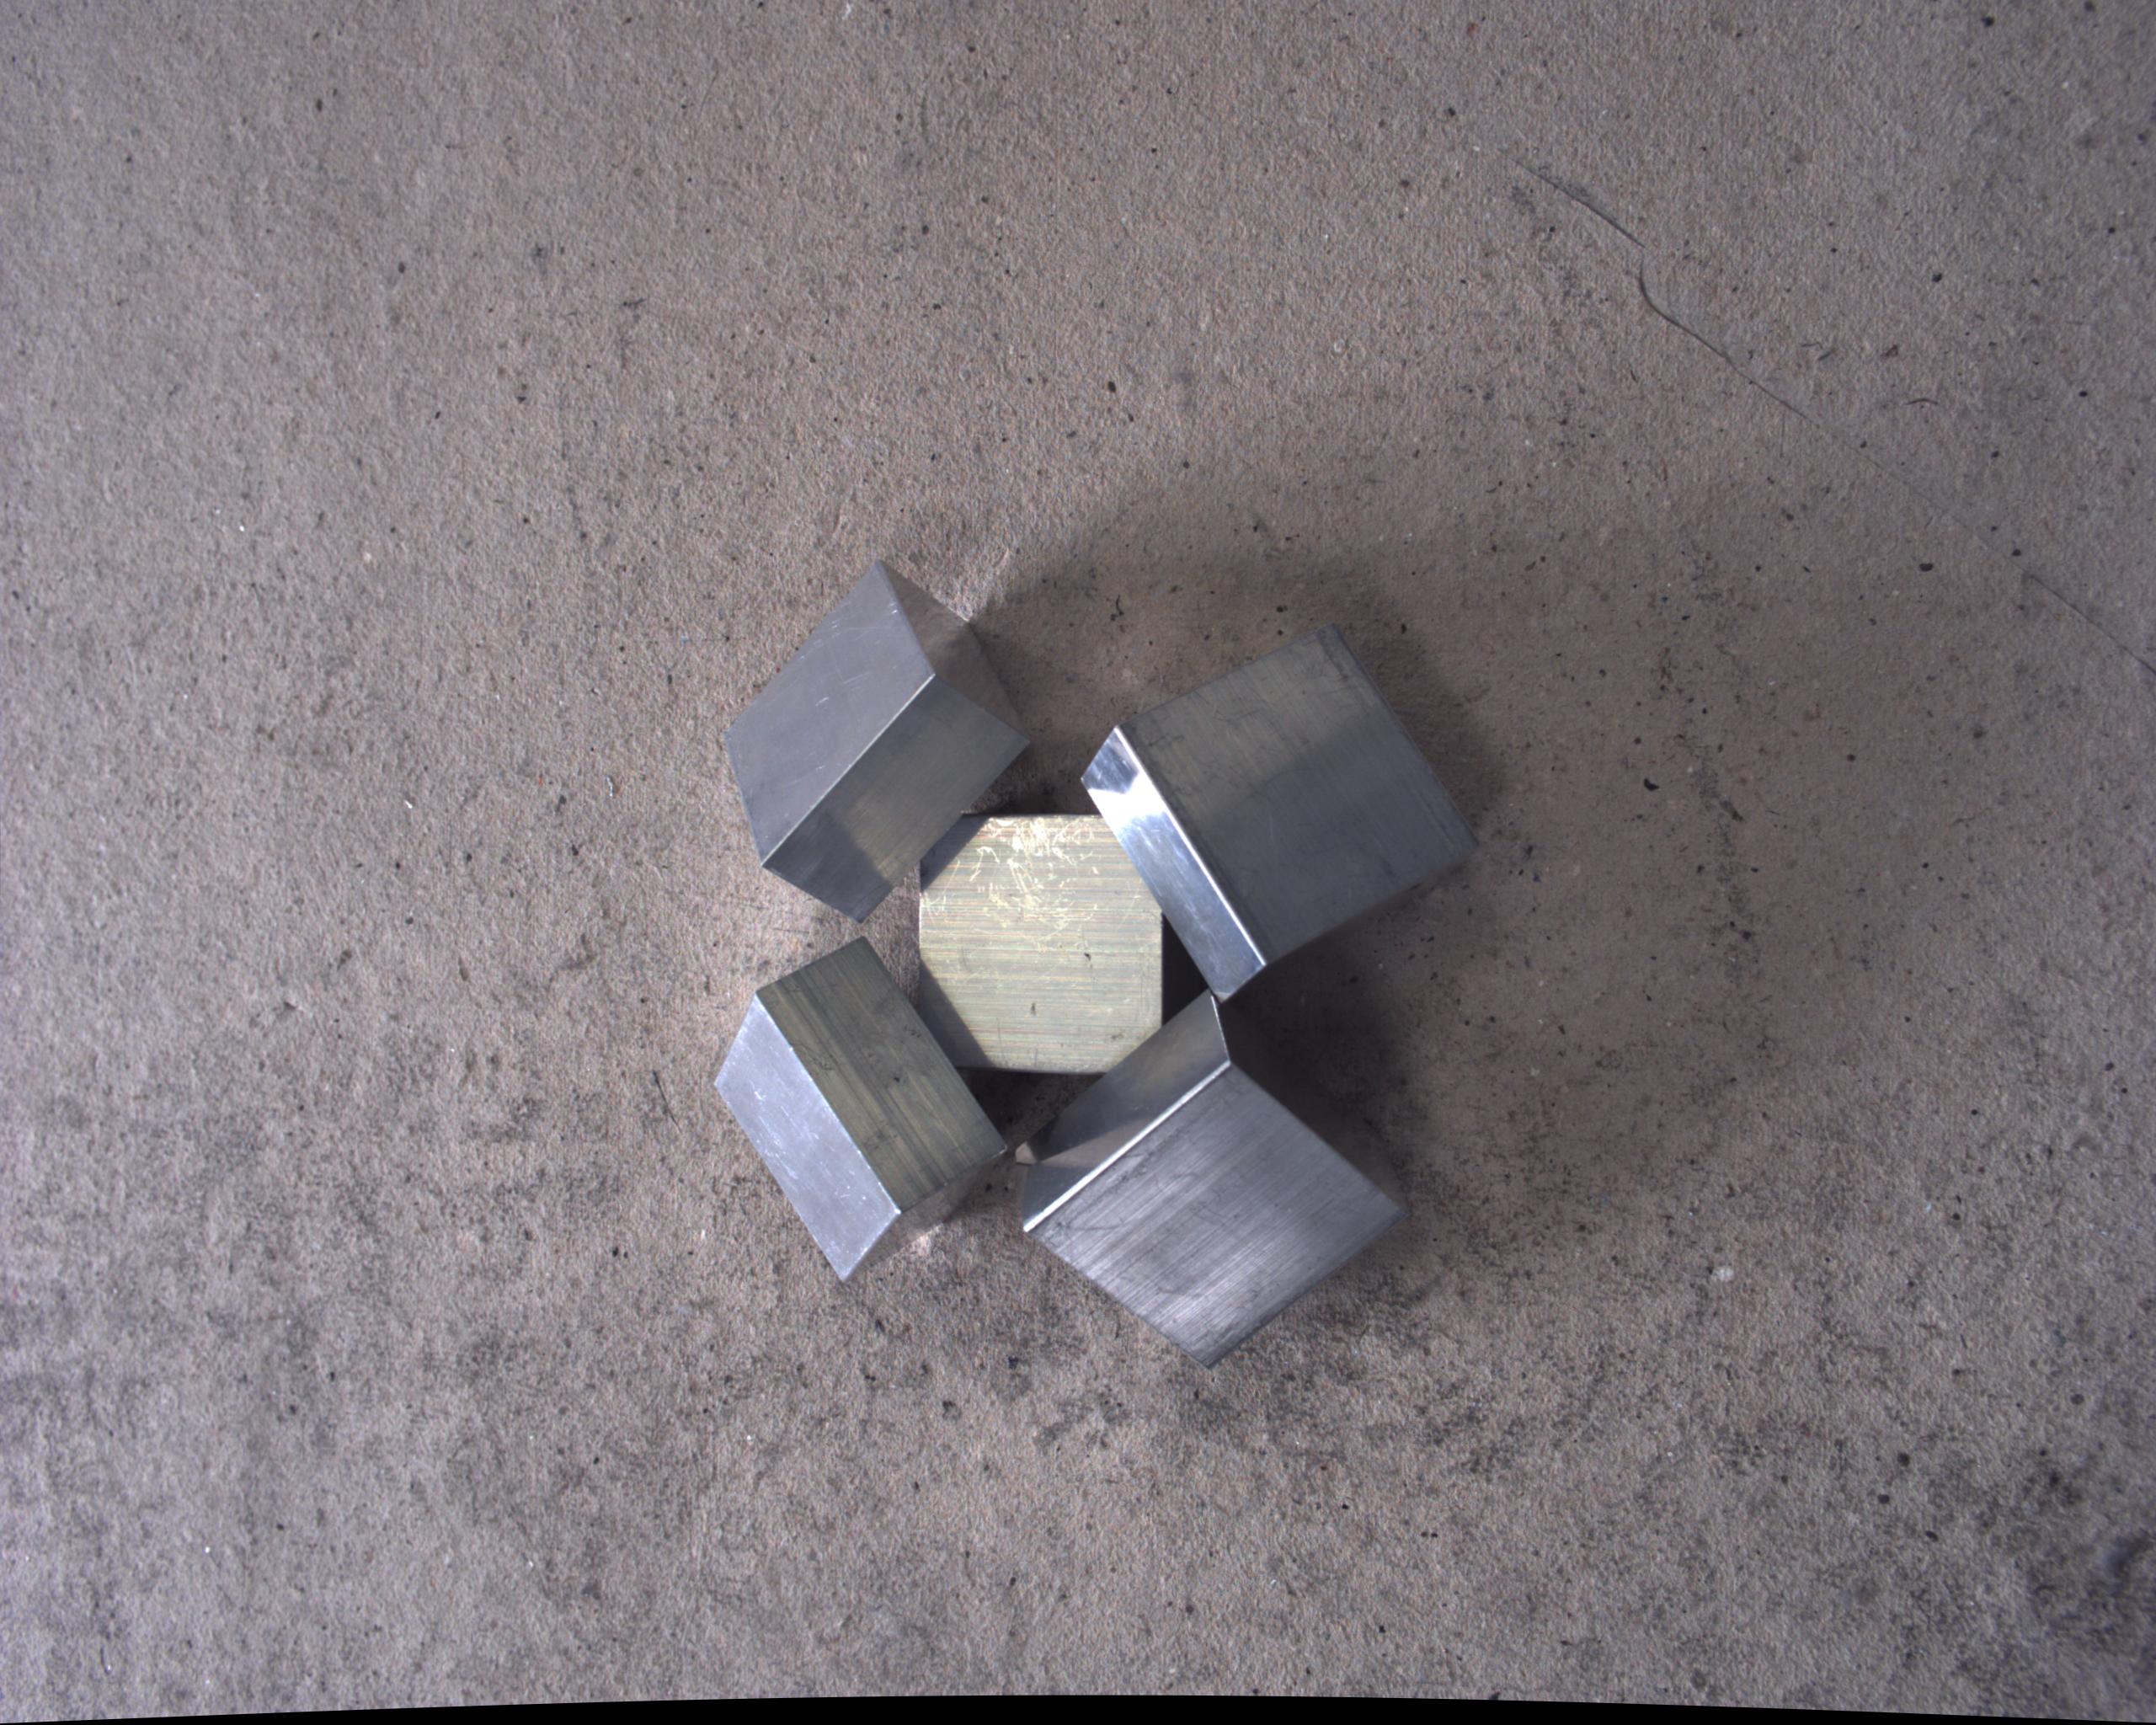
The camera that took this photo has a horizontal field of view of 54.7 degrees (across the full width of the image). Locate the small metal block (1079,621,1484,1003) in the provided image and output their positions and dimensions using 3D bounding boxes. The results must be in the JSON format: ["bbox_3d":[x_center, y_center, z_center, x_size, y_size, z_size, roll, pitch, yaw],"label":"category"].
[{"bbox_3d":[0.037,-0.009,0.384,0.050,0.025,0.050,-27,79,-24],"label":"small metal block"}]

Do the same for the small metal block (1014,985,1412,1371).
[{"bbox_3d":[0.024,0.059,0.388,0.050,0.025,0.050,-42,115,15],"label":"small metal block"}]

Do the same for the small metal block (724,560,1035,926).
[{"bbox_3d":[-0.041,-0.024,0.411,0.050,0.025,0.050,-46,35,13],"label":"small metal block"}]

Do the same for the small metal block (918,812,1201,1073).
[{"bbox_3d":[-0.003,0.015,0.411,0.050,0.025,0.050,0,90,18],"label":"small metal block"}]

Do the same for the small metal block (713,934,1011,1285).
[{"bbox_3d":[-0.044,0.050,0.412,0.050,0.025,0.050,55,150,12],"label":"small metal block"}]
